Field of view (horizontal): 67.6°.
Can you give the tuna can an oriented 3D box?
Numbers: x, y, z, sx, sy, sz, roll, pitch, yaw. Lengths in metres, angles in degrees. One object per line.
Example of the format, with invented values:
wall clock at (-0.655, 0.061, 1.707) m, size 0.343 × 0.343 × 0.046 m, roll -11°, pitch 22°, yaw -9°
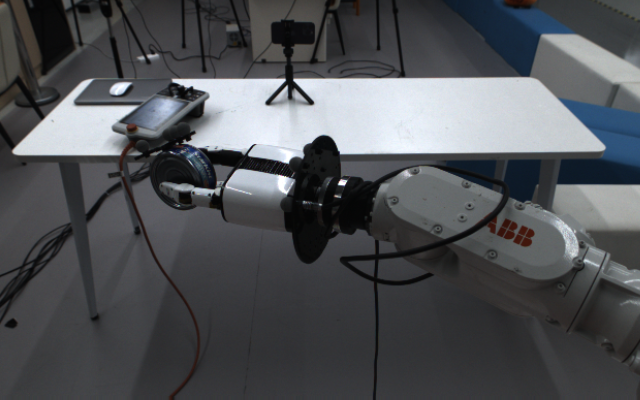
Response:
tuna can at (-0.181, -0.024, 0.648) m, size 0.085 × 0.085 × 0.034 m, roll 15°, pitch 30°, yaw 17°
